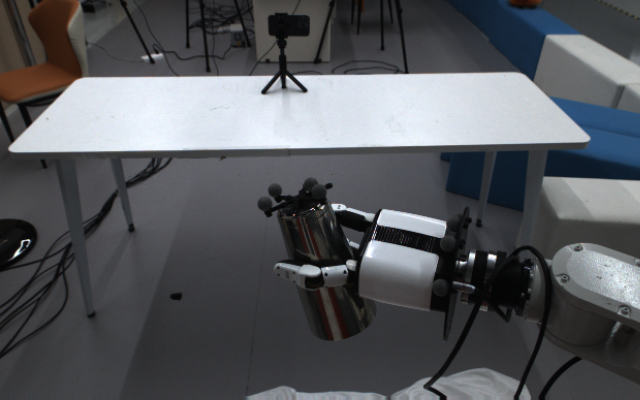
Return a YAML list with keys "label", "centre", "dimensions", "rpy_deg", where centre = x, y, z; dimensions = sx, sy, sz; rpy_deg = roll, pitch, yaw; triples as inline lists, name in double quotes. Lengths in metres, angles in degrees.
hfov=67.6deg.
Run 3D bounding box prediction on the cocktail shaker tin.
- label: "cocktail shaker tin"
  centre: [0.005, 0.081, 0.612]
  dimensions: [0.093, 0.170, 0.093]
  rpy_deg: [-17, 21, 7]
